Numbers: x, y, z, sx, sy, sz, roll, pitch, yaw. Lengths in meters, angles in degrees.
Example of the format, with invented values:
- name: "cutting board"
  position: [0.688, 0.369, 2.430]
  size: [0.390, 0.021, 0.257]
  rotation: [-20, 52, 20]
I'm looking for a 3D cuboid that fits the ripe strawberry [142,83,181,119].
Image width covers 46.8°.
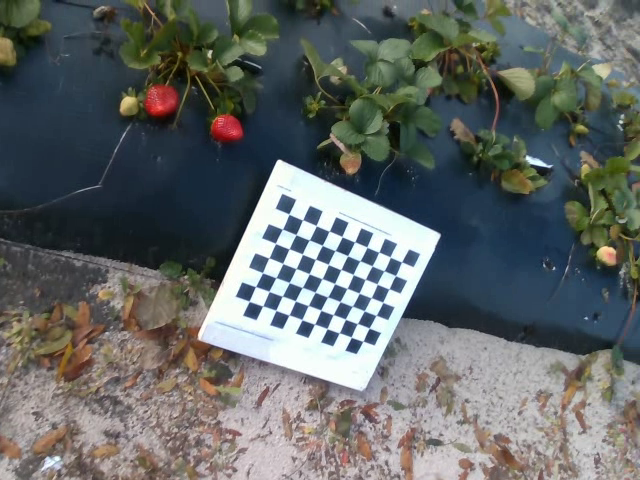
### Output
- name: "ripe strawberry"
  position: [-0.142, -0.126, 0.665]
  size: [0.035, 0.041, 0.036]
  rotation: [8, 38, -18]

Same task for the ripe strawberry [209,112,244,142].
- name: "ripe strawberry"
  position: [-0.084, -0.105, 0.698]
  size: [0.033, 0.038, 0.039]
  rotation: [31, 15, -45]
